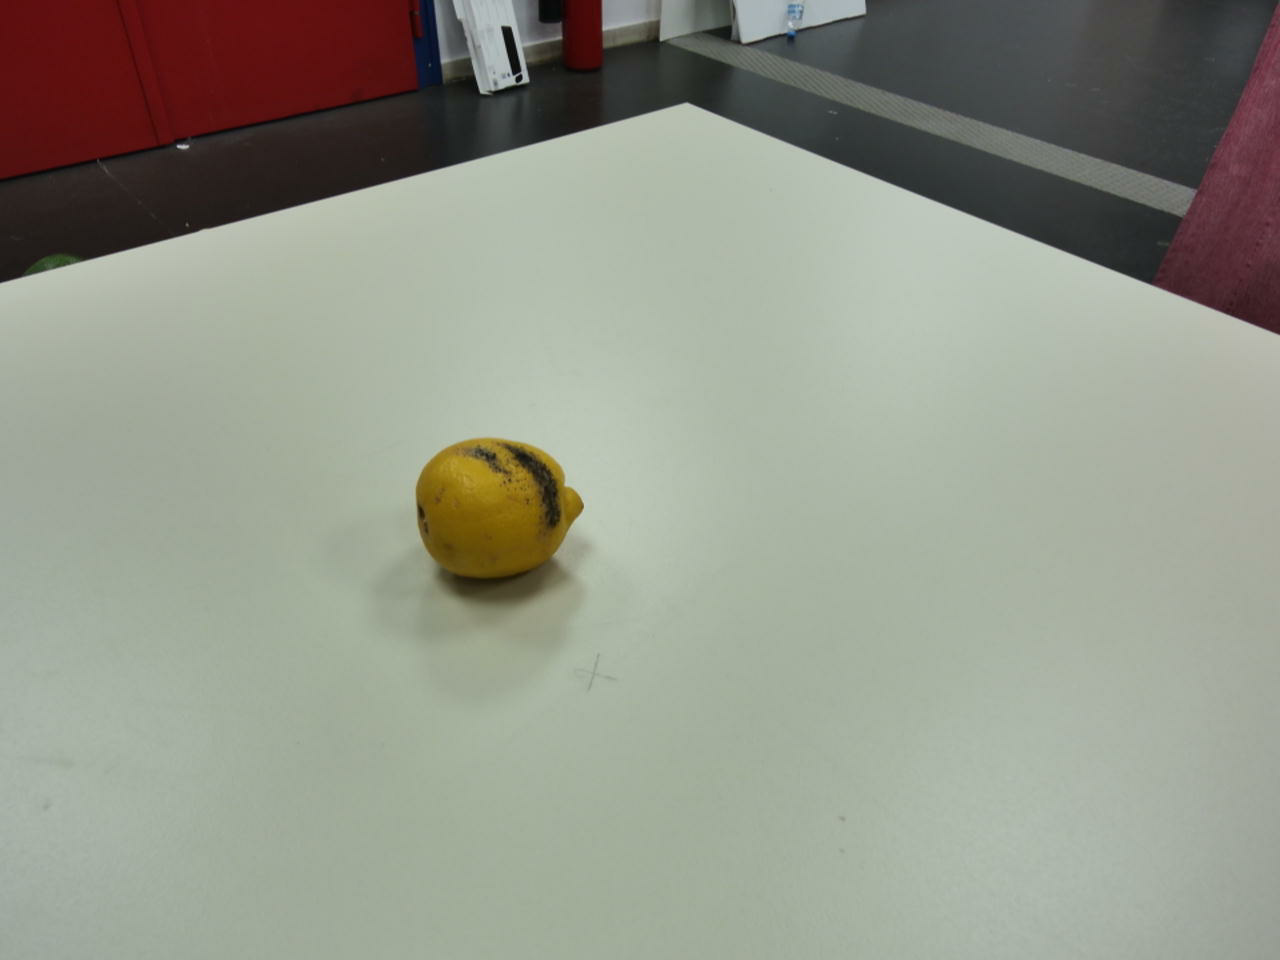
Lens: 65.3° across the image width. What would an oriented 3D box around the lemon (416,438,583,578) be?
[{"bbox_3d":[-0.059,0.011,0.398,0.058,0.056,0.061,29,45,32],"label":"lemon"}]
